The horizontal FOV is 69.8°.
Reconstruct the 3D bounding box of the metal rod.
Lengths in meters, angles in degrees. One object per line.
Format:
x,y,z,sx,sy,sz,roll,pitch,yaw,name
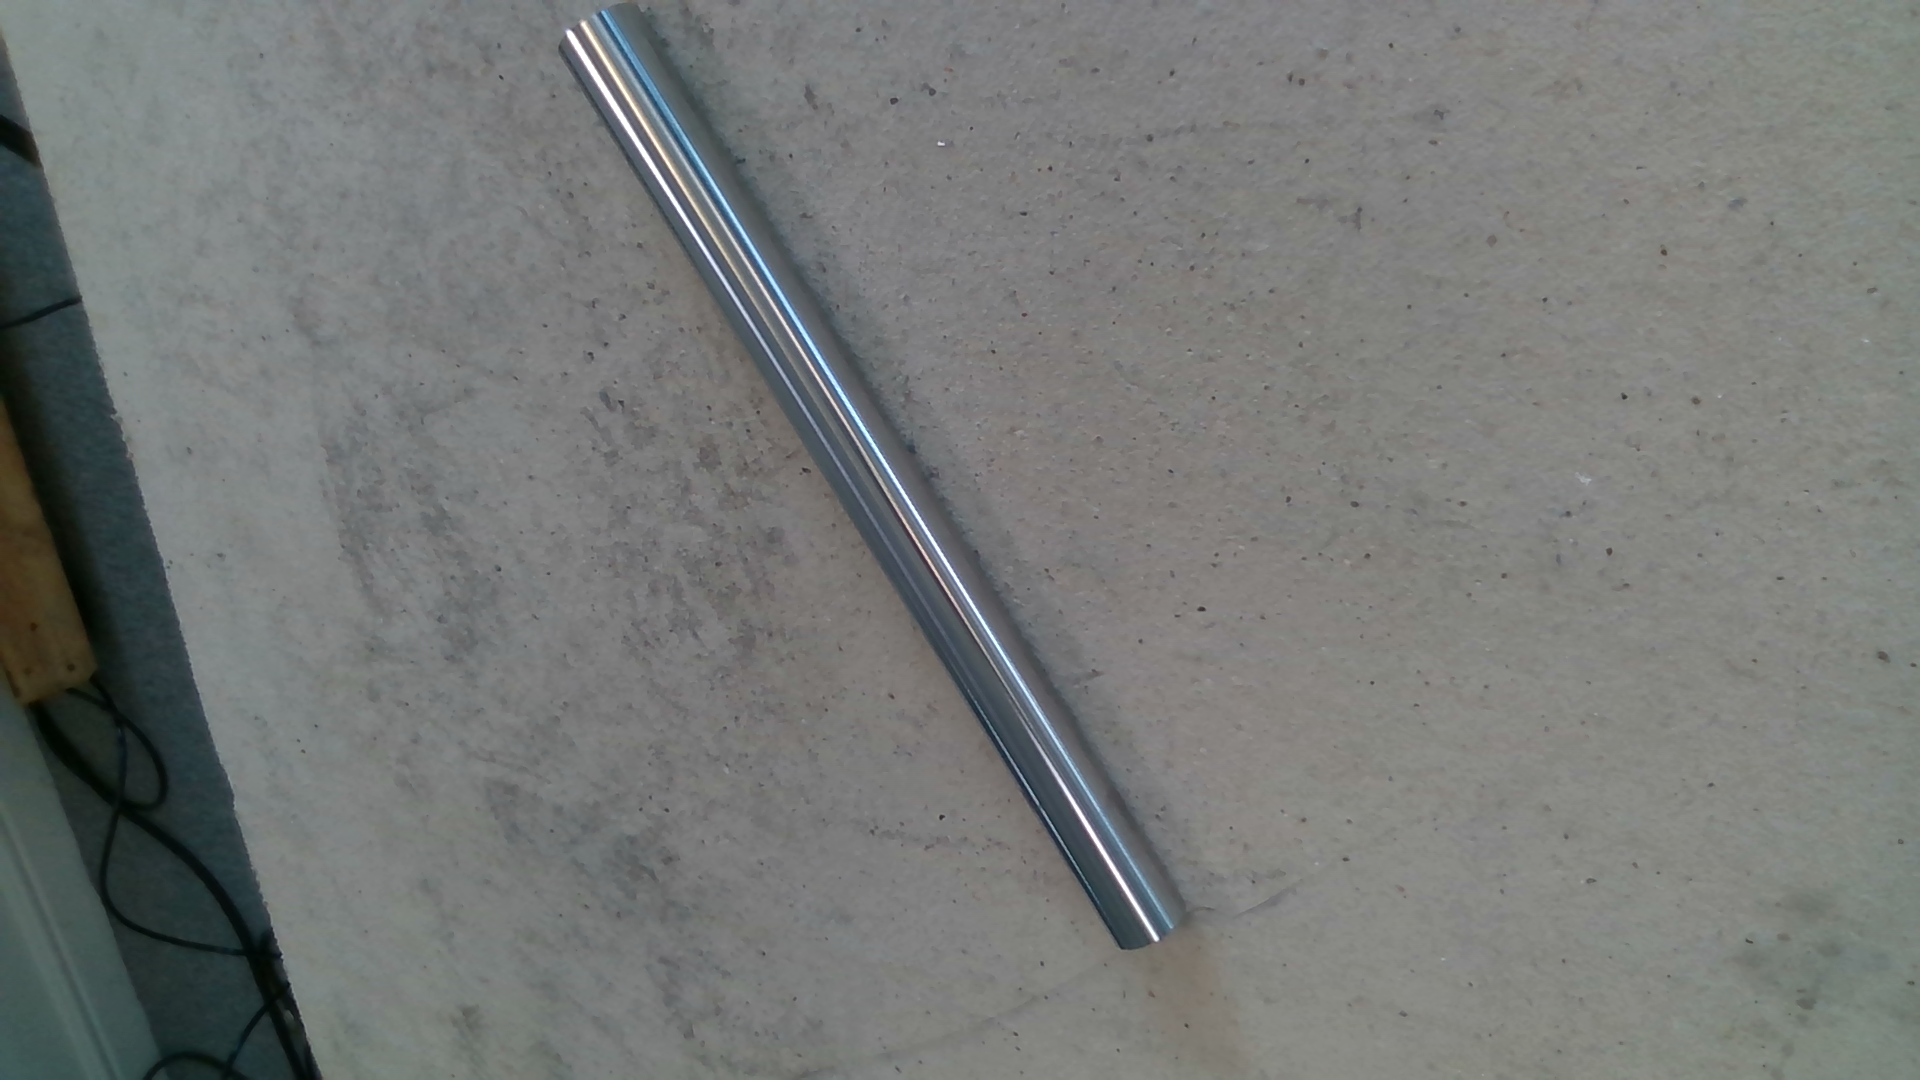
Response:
-0.020,-0.012,0.395,0.025,0.025,0.300,-25,101,38,metal rod
